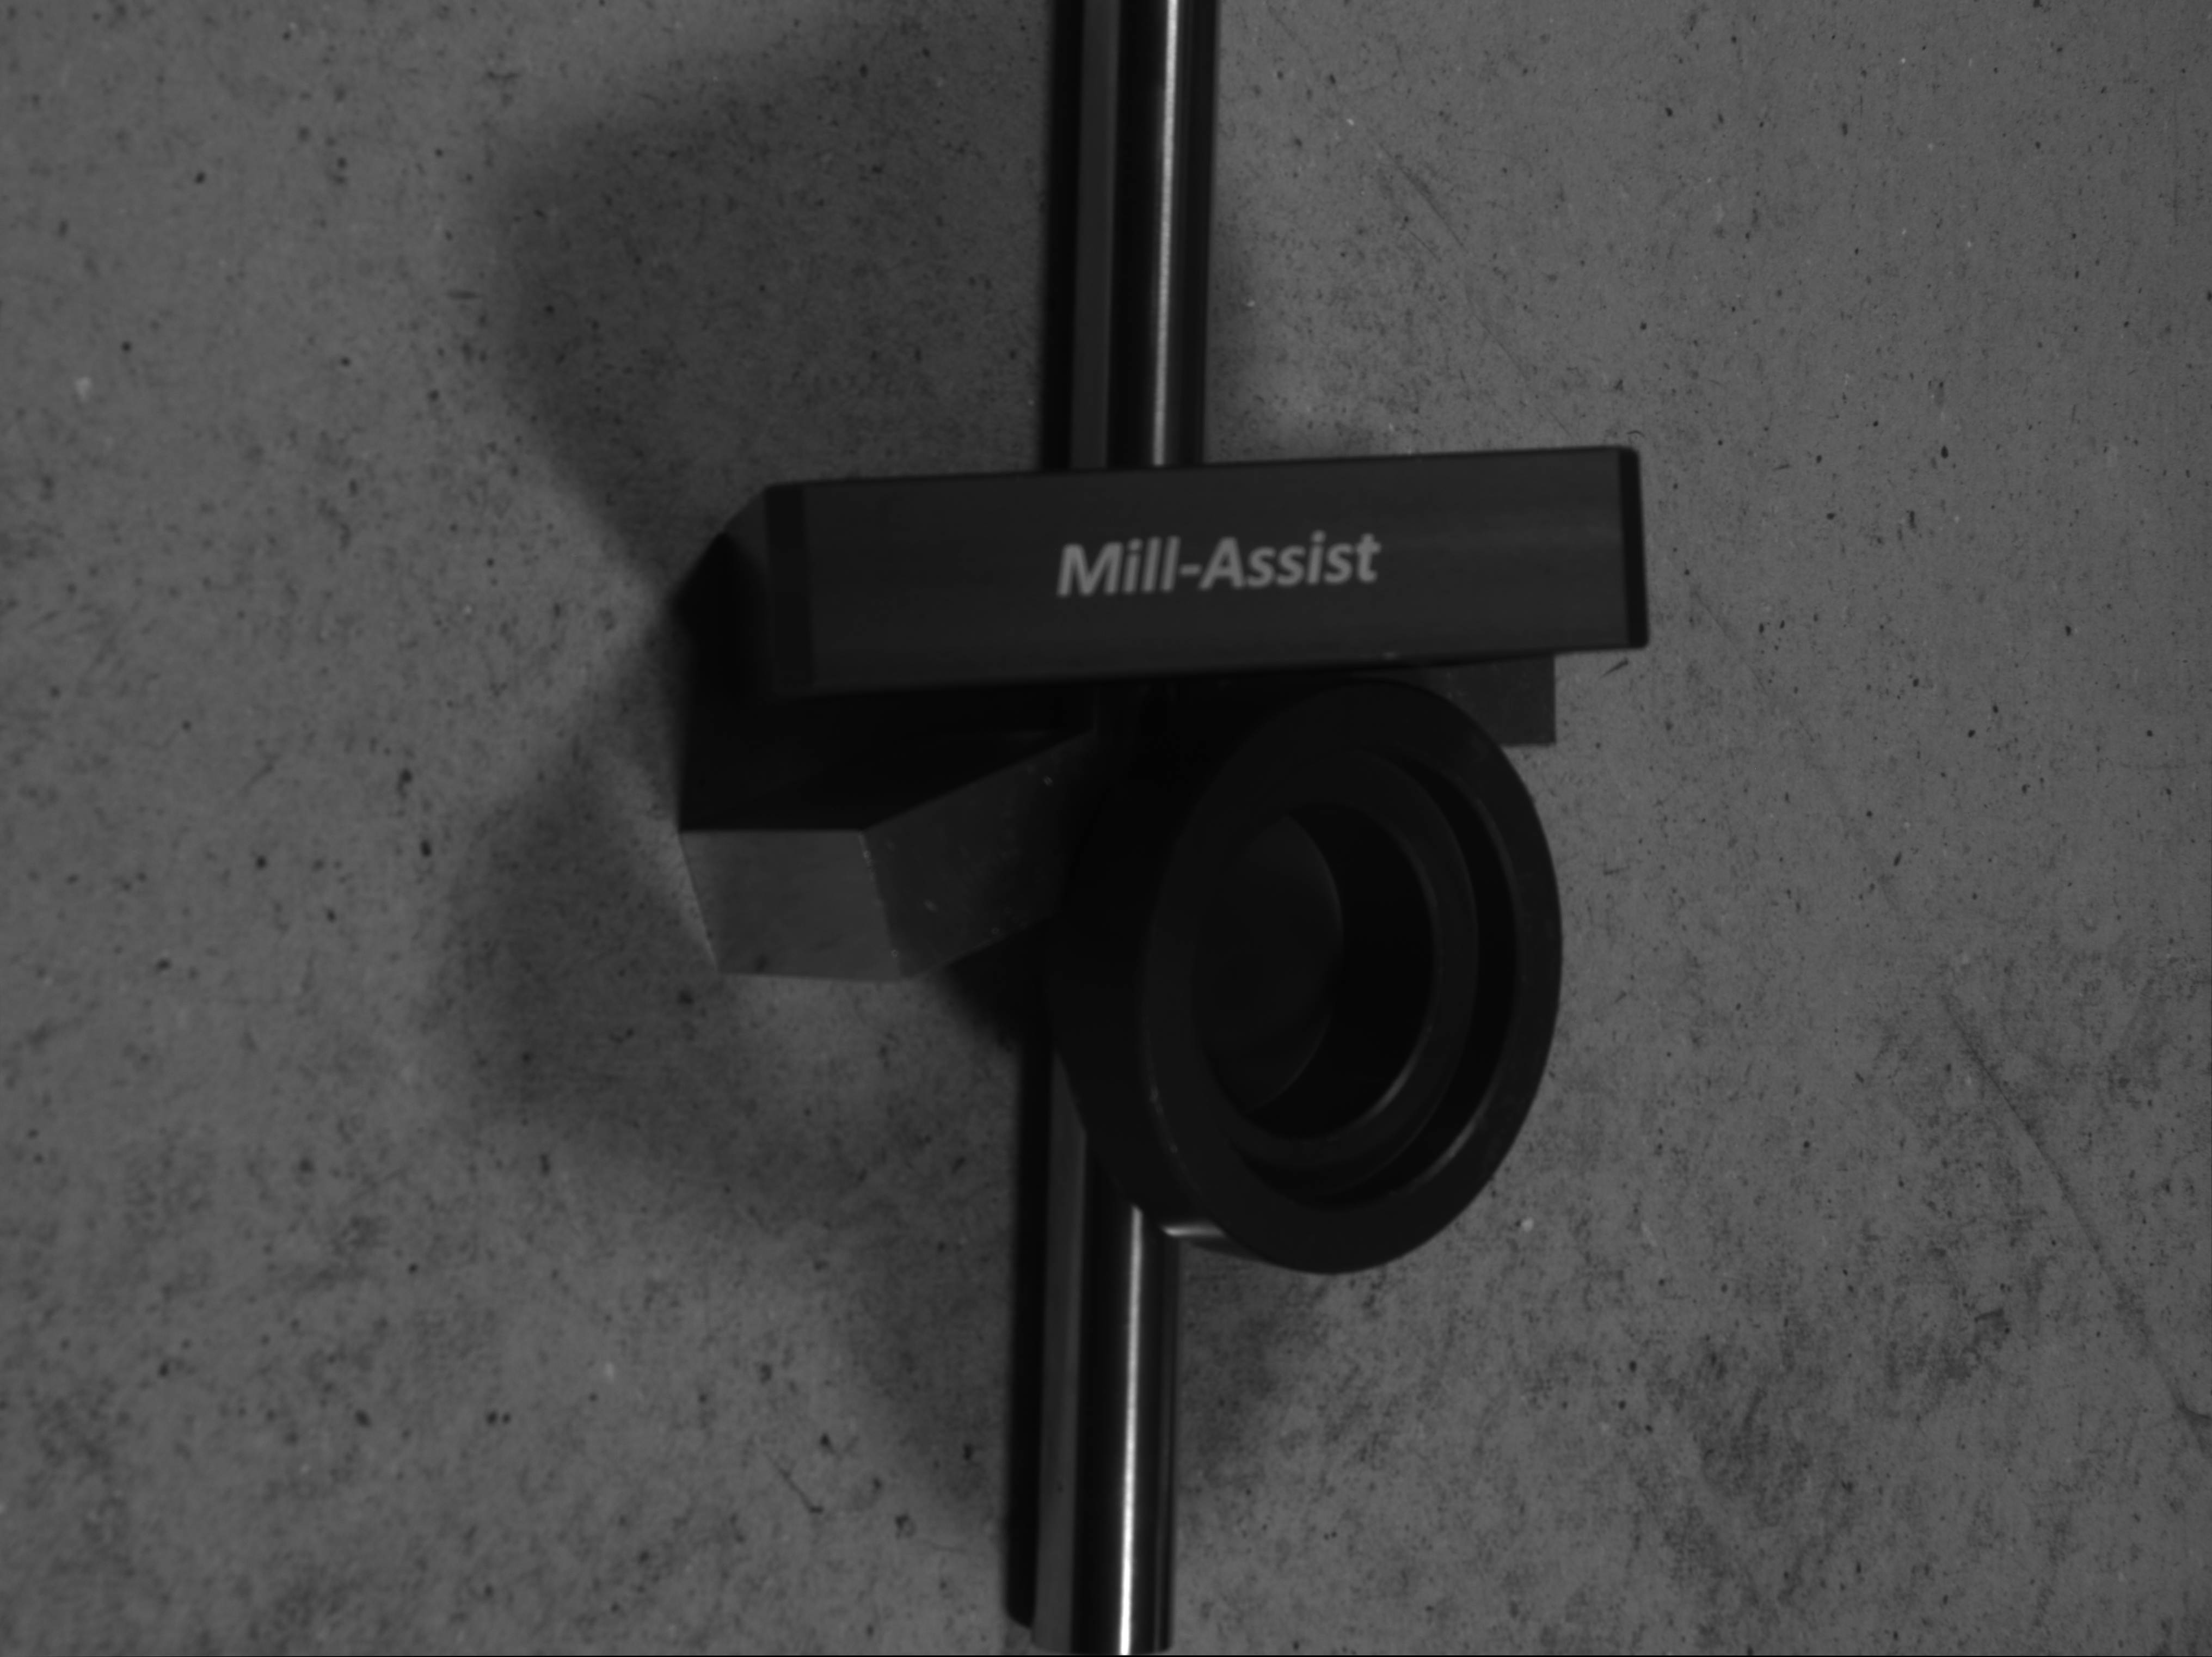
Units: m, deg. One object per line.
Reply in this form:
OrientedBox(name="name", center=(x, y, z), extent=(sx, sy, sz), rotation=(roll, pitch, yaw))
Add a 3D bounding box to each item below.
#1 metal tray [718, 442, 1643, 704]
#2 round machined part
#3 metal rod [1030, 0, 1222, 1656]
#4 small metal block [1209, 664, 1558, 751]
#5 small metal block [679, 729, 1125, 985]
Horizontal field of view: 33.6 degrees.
OrientedBox(name="metal tray", center=(0.008, -0.039, 0.572), extent=(0.130, 0.090, 0.030), rotation=(-4, 91, -10))
OrientedBox(name="round machined part", center=(0.029, 0.023, 0.614), extent=(0.098, 0.042, 0.098), rotation=(-4, 96, -41))
OrientedBox(name="metal rod", center=(0.004, -0.008, 0.641), extent=(0.025, 0.025, 0.300), rotation=(3, 88, -40))
OrientedBox(name="small metal block", center=(0.045, -0.026, 0.659), extent=(0.050, 0.050, 0.025), rotation=(-2, 91, -40))
OrientedBox(name="small metal block", center=(-0.032, 0.004, 0.594), extent=(0.050, 0.050, 0.025), rotation=(-24, 105, -37))
